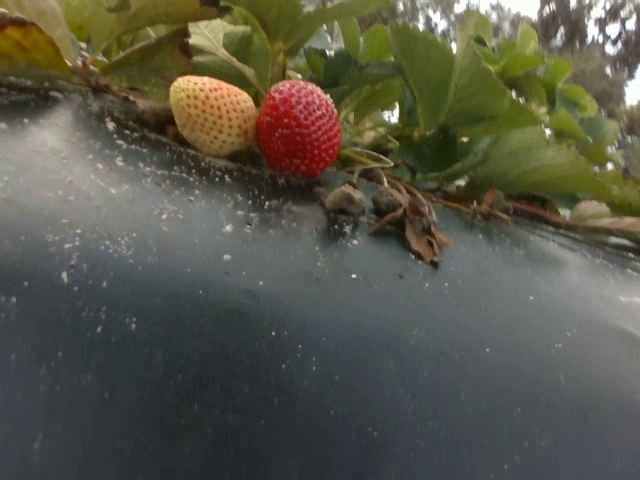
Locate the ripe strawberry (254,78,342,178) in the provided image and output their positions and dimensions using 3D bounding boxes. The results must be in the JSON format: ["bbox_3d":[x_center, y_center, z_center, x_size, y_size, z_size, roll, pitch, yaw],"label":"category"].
[{"bbox_3d":[-0.008,-0.040,0.193,0.034,0.033,0.042,45,-4,20],"label":"ripe strawberry"}]
